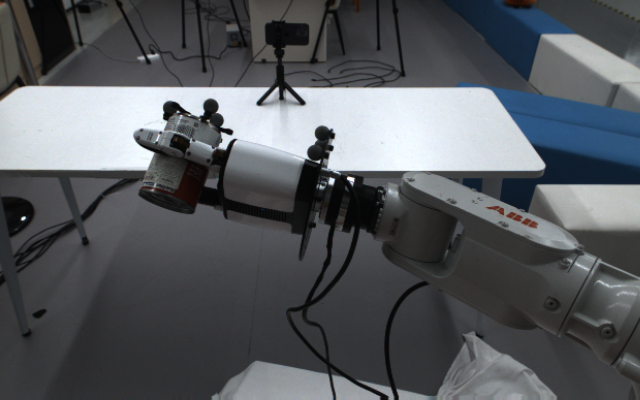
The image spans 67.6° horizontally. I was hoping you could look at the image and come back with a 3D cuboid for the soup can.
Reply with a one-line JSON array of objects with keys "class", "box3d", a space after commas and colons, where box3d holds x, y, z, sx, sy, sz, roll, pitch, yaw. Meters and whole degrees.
[{"class": "soup can", "box3d": [-0.162, -0.042, 0.572, 0.067, 0.067, 0.101, 11, 72, 13]}]
